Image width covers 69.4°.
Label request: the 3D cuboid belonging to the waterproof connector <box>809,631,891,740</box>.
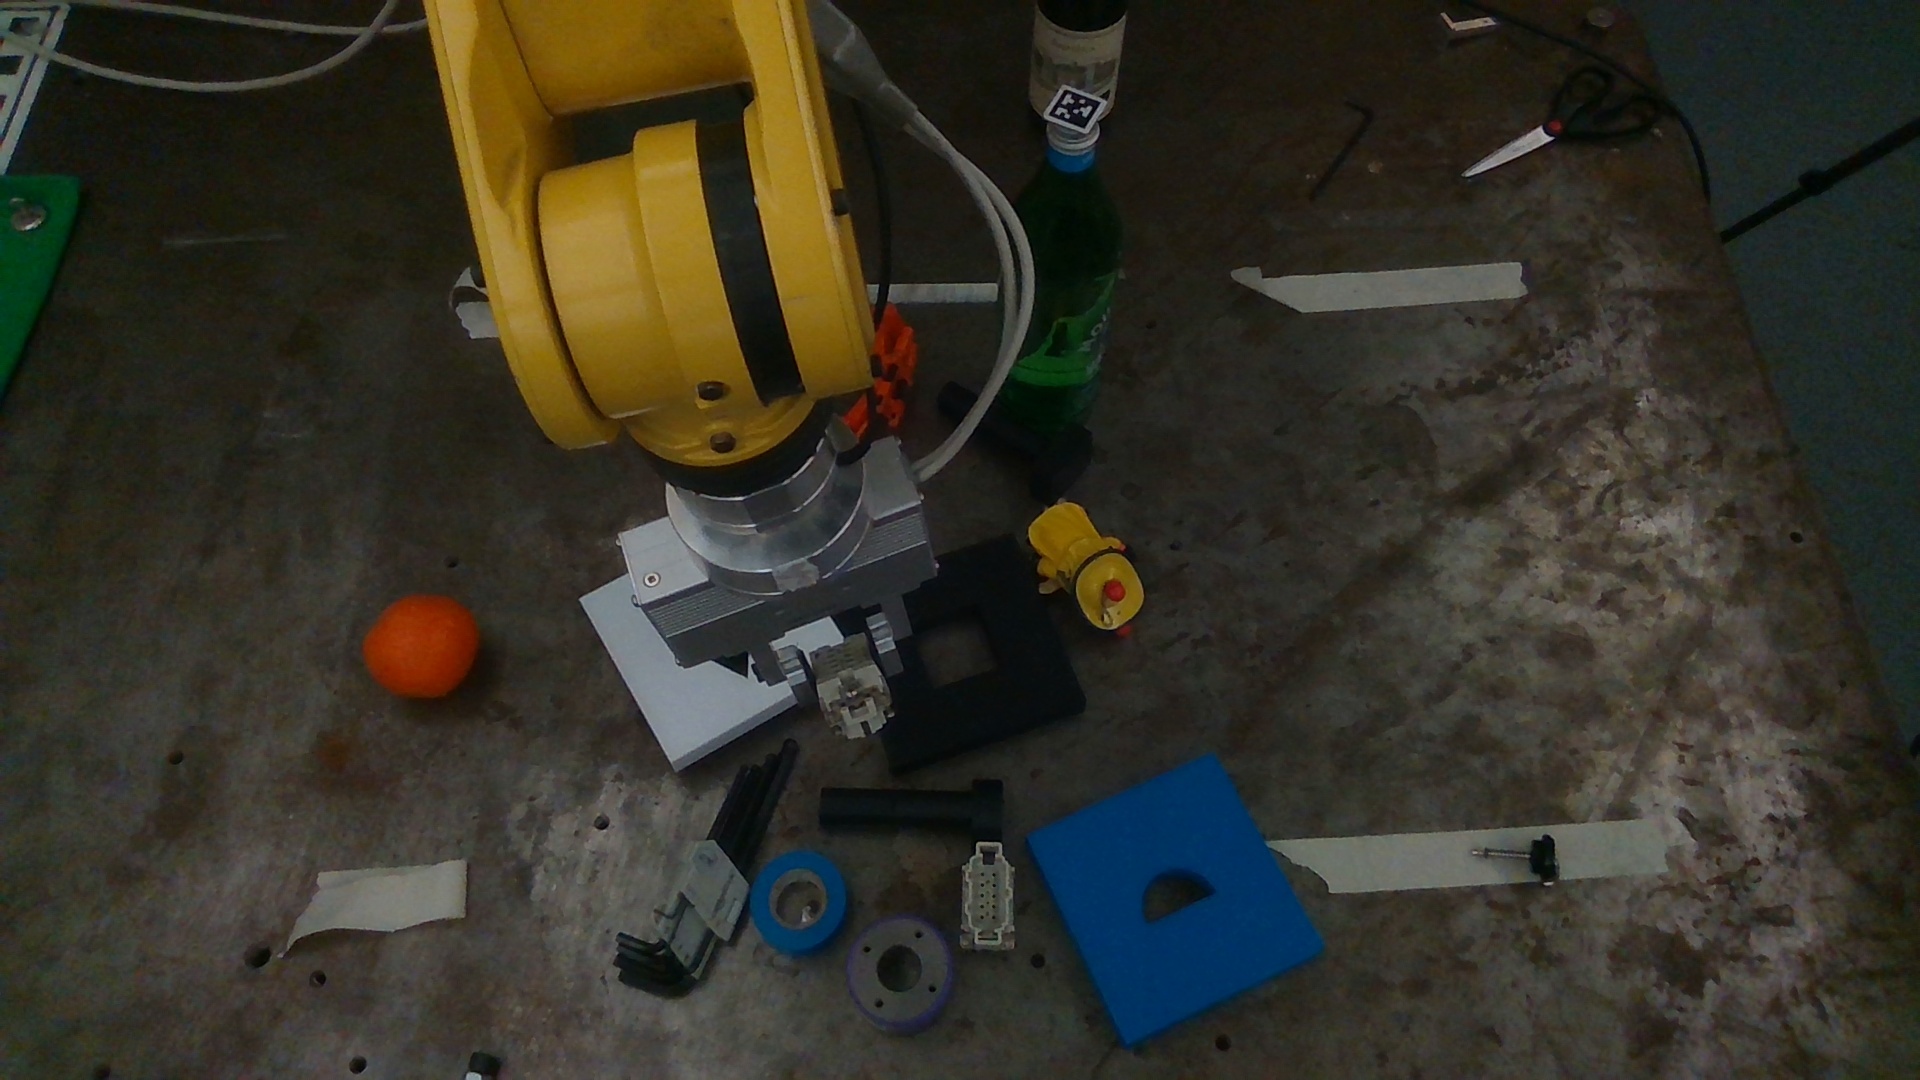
[{"bbox_3d":[-0.057,0.078,0.740,0.037,0.038,0.069,-22,20,-2],"label":"waterproof connector"}]
